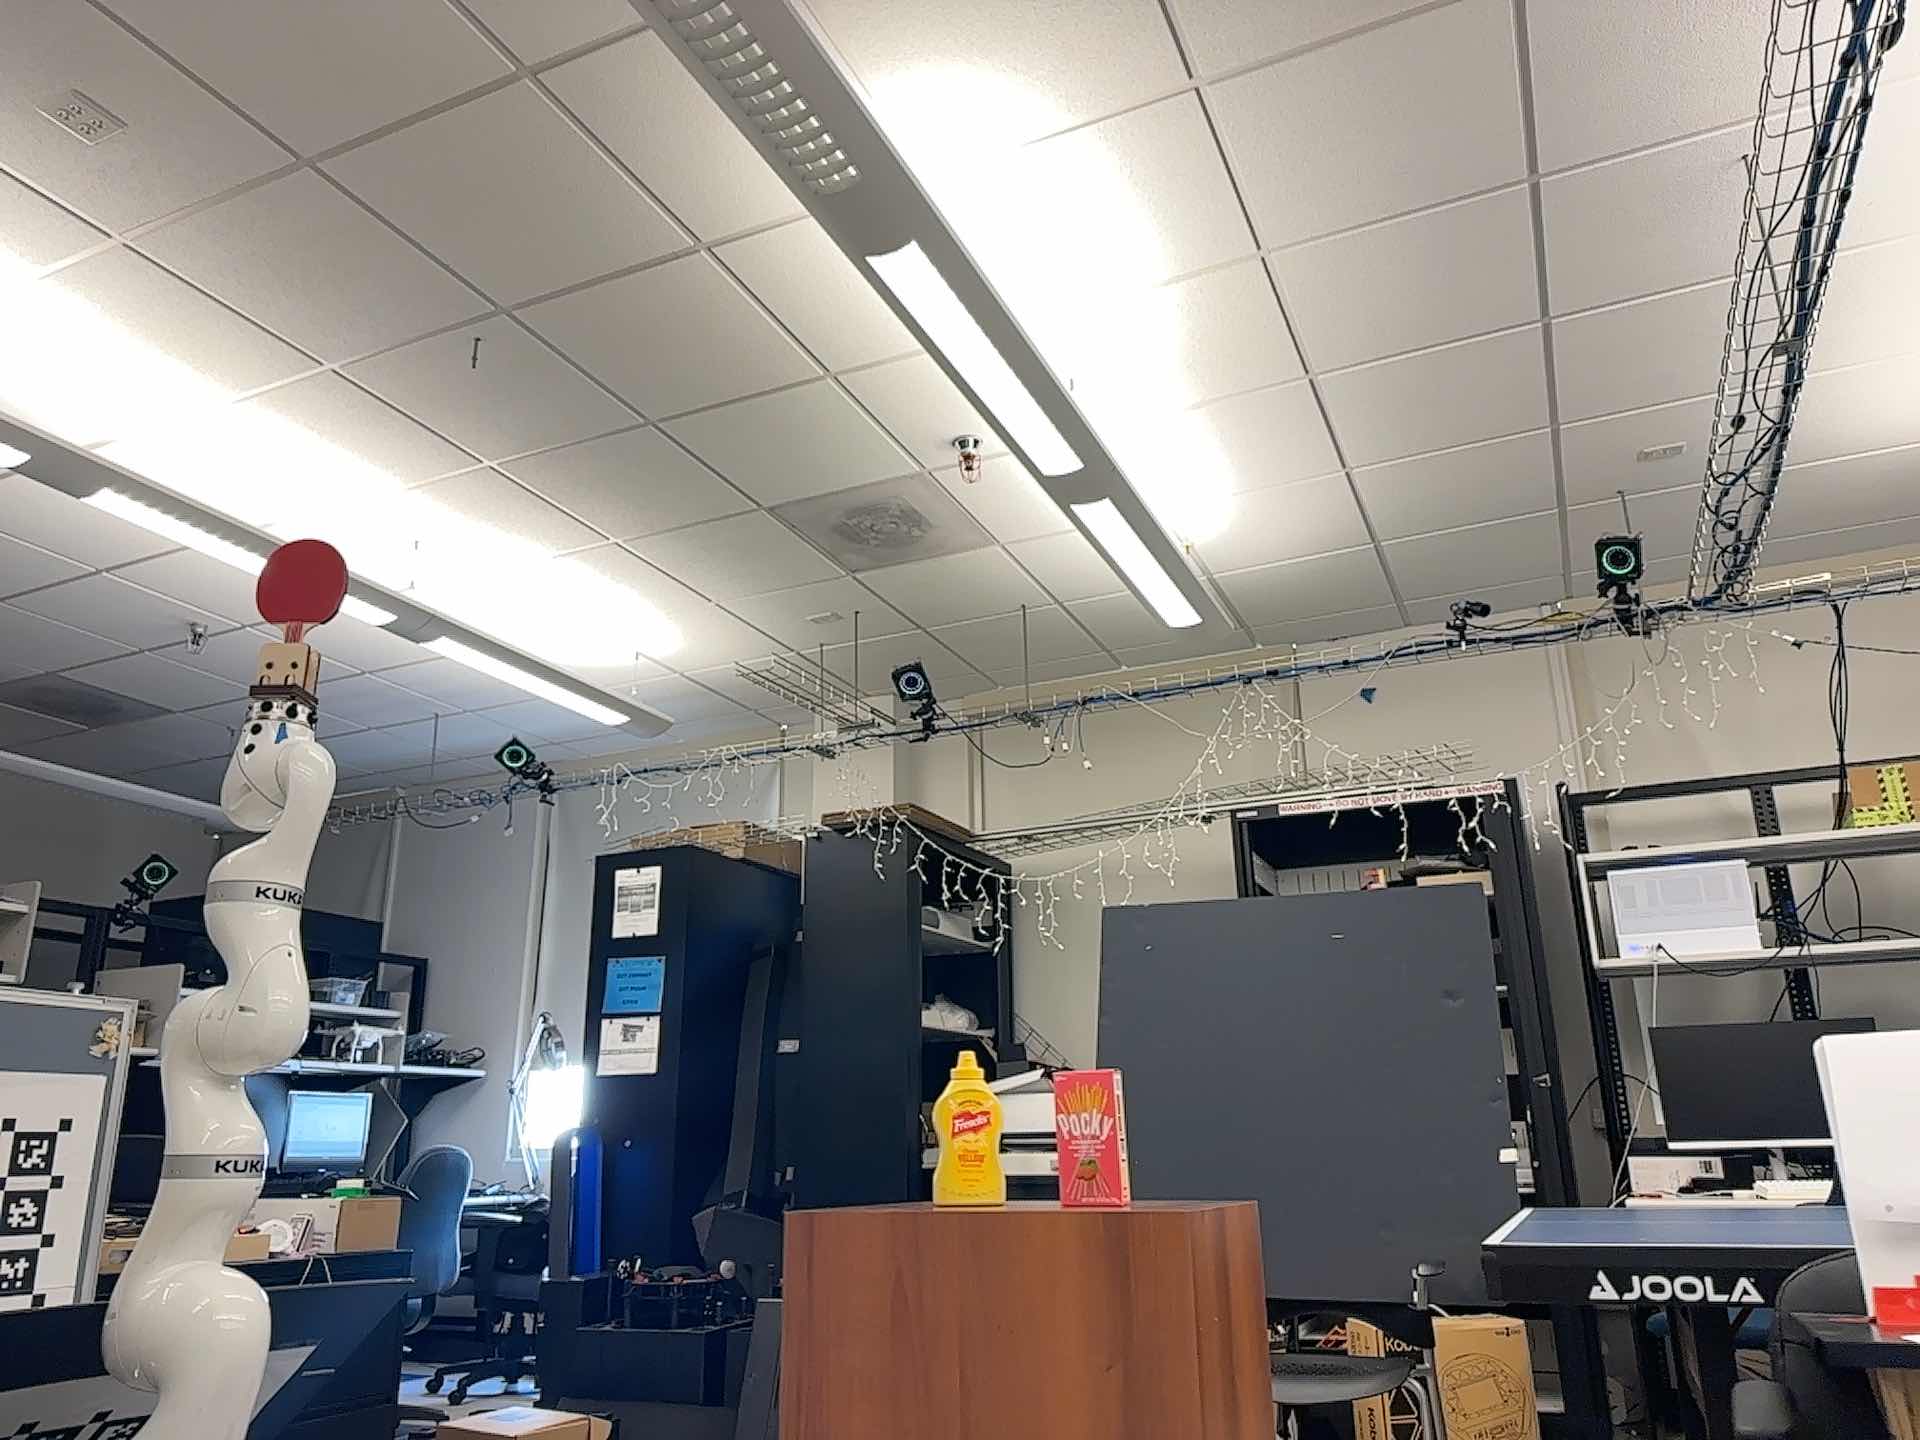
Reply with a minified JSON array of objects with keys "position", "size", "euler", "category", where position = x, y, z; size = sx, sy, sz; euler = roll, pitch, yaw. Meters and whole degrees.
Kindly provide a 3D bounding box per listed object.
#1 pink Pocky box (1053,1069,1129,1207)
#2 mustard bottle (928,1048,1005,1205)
[{"position":[0.155,0.498,1.611],"size":[0.084,0.154,0.029],"euler":[-11,-21,30],"category":"pink Pocky box"},{"position":[0.006,0.499,1.662],"size":[0.092,0.184,0.054],"euler":[0,-18,-3],"category":"mustard bottle"}]
